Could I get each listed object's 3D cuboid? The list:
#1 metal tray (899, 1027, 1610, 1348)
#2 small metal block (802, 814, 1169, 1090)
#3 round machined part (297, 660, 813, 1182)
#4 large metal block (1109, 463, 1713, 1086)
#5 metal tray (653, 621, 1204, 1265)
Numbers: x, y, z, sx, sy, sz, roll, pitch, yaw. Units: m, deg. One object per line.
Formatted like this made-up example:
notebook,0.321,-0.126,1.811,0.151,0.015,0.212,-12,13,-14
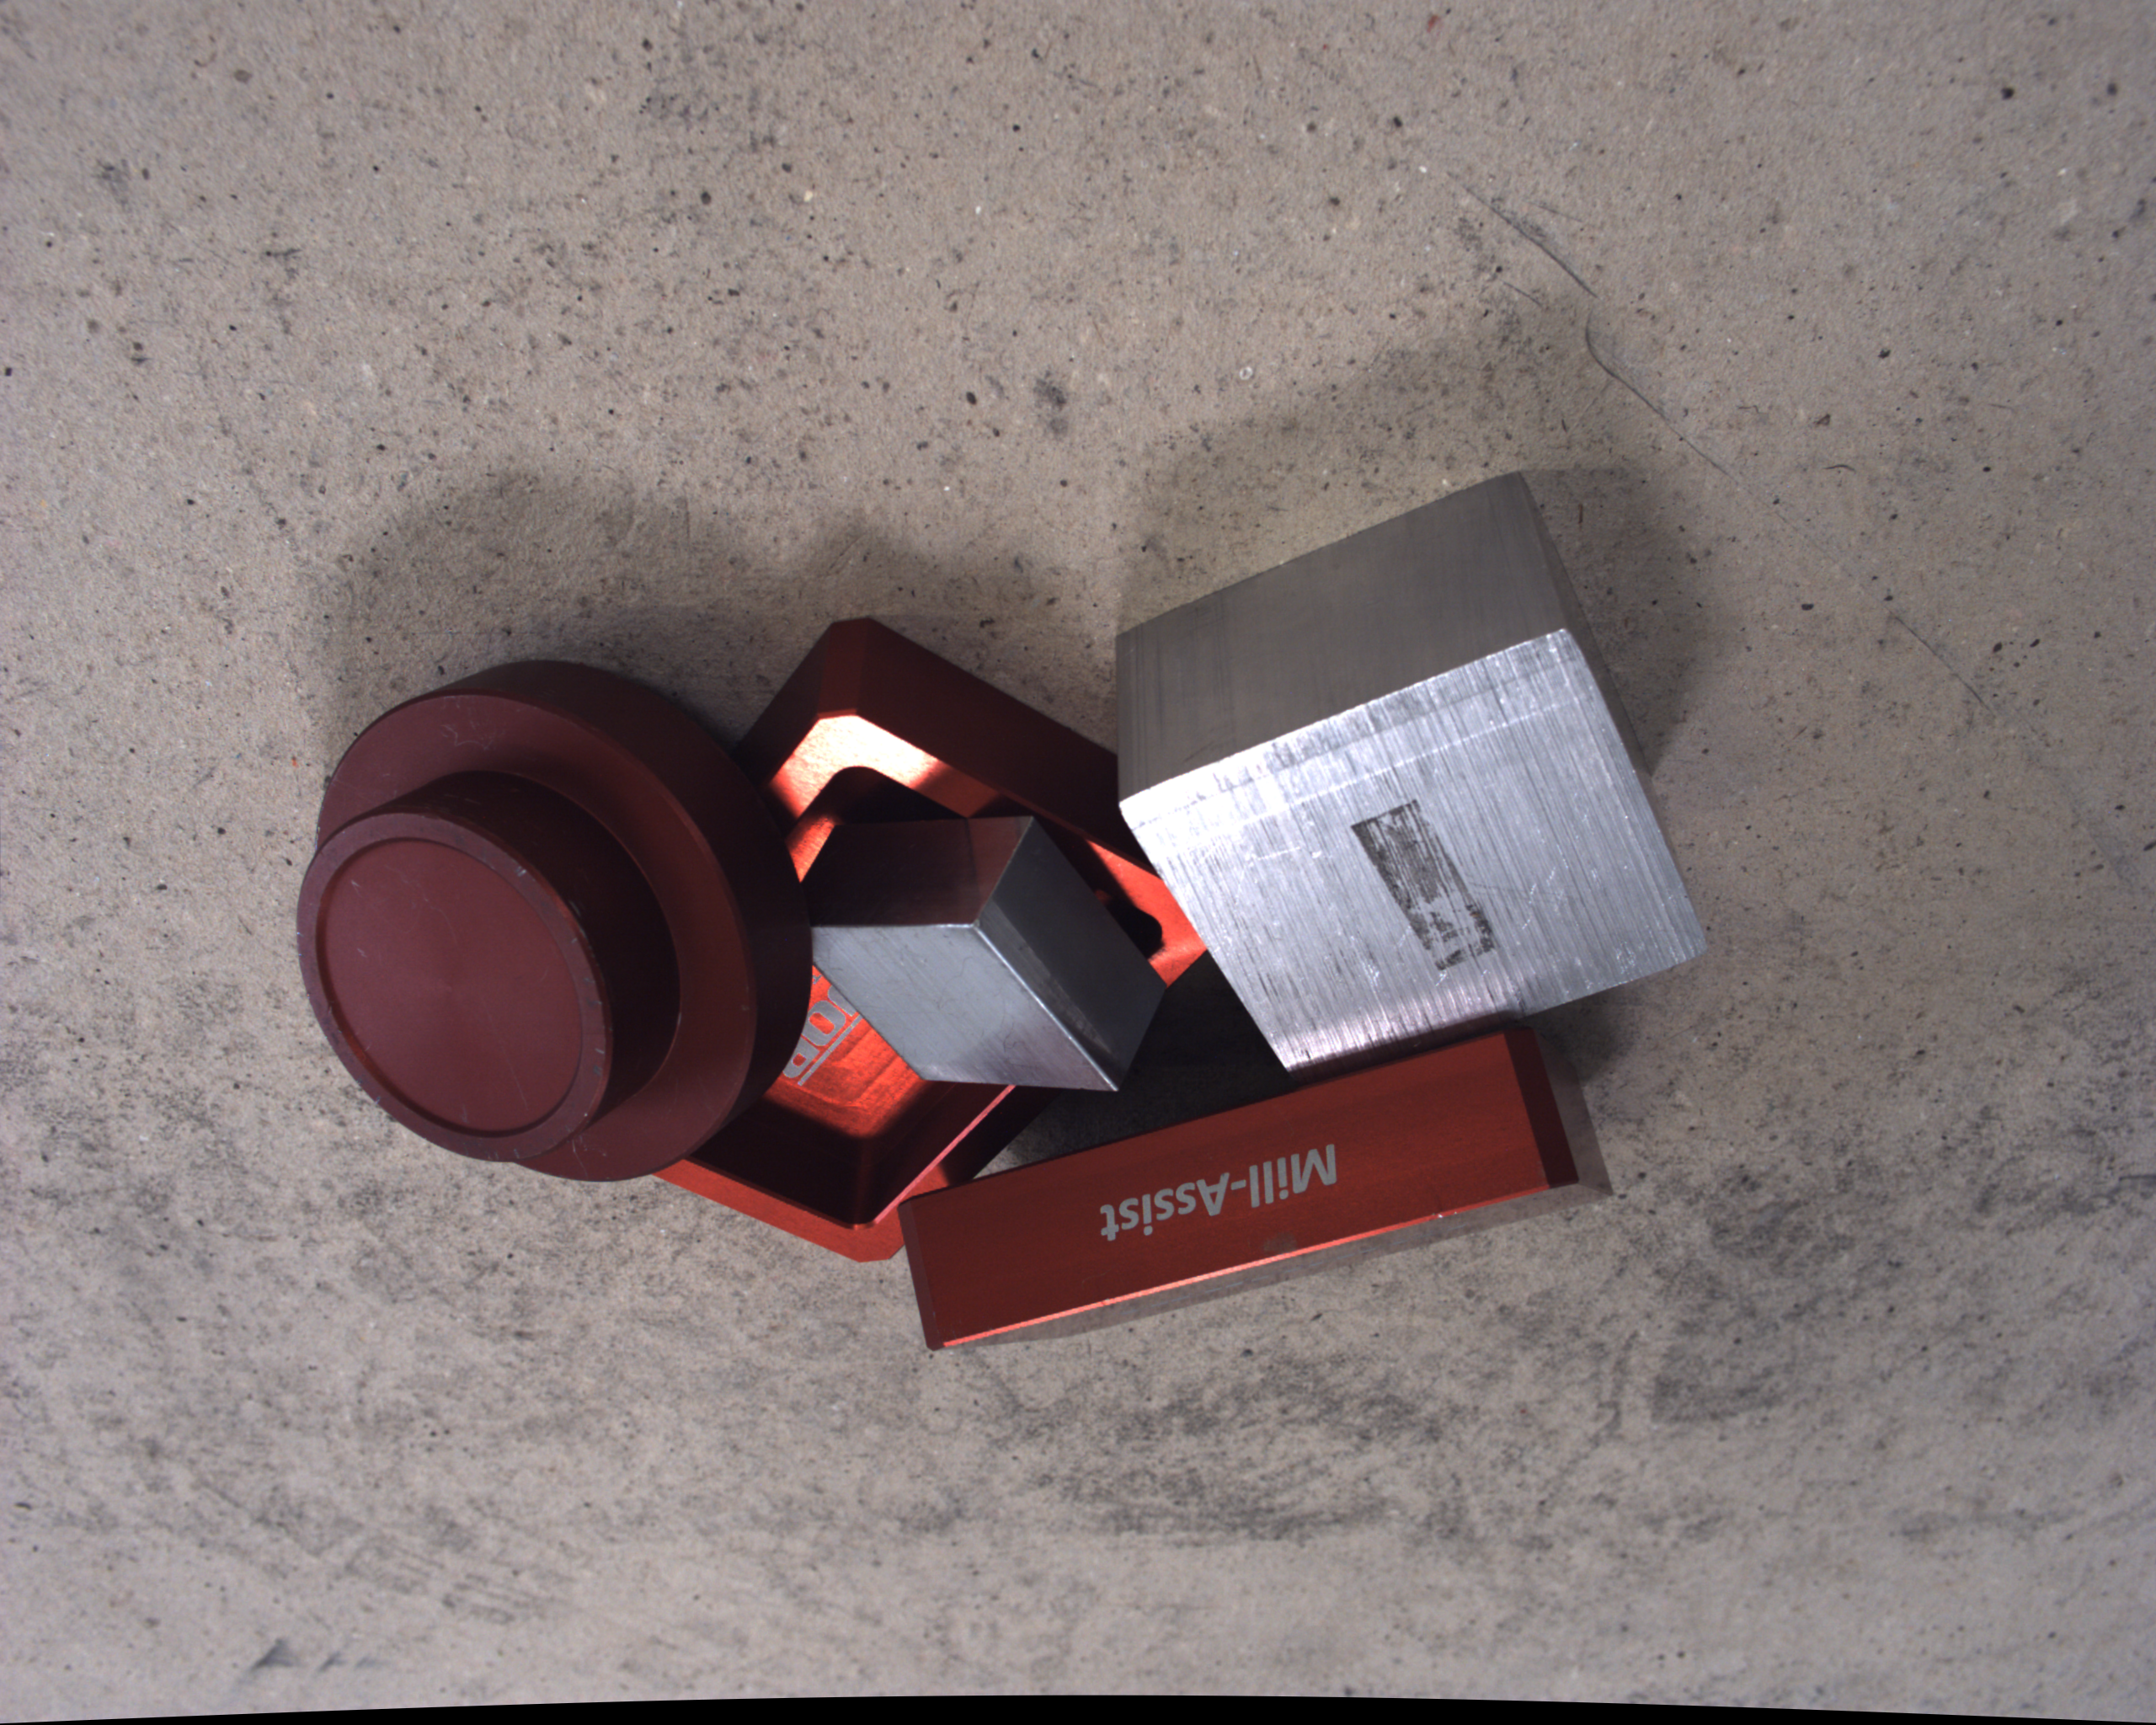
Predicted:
metal tray,0.040,0.070,0.435,0.130,0.030,0.090,-17,164,15
small metal block,-0.020,0.017,0.393,0.050,0.025,0.050,-2,139,39
round machined part,-0.102,0.015,0.382,0.098,0.042,0.097,9,113,22
large metal block,0.060,-0.013,0.382,0.080,0.050,0.080,-21,127,17
metal tray,-0.044,0.022,0.423,0.090,0.030,0.129,28,125,-22
